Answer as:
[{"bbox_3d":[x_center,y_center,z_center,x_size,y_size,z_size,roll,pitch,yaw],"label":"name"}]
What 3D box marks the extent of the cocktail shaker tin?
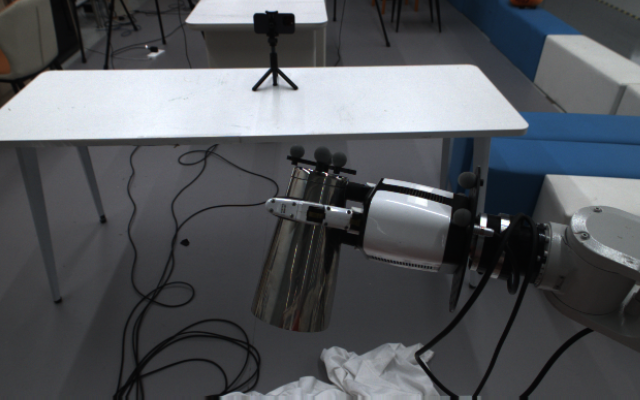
[{"bbox_3d":[-0.014,0.050,0.556,0.093,0.170,0.093,12,3,-1],"label":"cocktail shaker tin"}]
